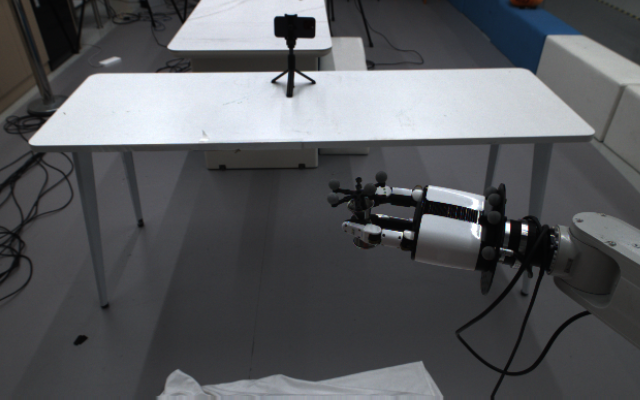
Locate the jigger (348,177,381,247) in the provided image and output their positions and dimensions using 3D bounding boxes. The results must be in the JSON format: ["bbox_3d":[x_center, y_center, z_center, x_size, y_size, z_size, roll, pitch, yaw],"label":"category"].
[{"bbox_3d":[0.066,0.033,0.724,0.043,0.071,0.043,-10,31,6],"label":"jigger"}]
